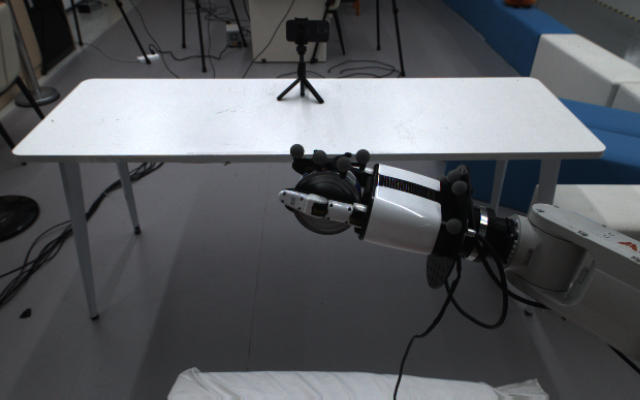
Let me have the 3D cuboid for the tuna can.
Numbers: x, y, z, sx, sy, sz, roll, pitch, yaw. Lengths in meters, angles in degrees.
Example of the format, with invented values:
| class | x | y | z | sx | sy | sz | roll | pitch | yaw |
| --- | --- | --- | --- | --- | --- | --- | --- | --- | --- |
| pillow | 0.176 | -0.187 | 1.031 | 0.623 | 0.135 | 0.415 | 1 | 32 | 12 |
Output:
| class | x | y | z | sx | sy | sz | roll | pitch | yaw |
| --- | --- | --- | --- | --- | --- | --- | --- | --- | --- |
| tuna can | 0.011 | -0.002 | 0.605 | 0.085 | 0.085 | 0.034 | 6 | 22 | 6 |
